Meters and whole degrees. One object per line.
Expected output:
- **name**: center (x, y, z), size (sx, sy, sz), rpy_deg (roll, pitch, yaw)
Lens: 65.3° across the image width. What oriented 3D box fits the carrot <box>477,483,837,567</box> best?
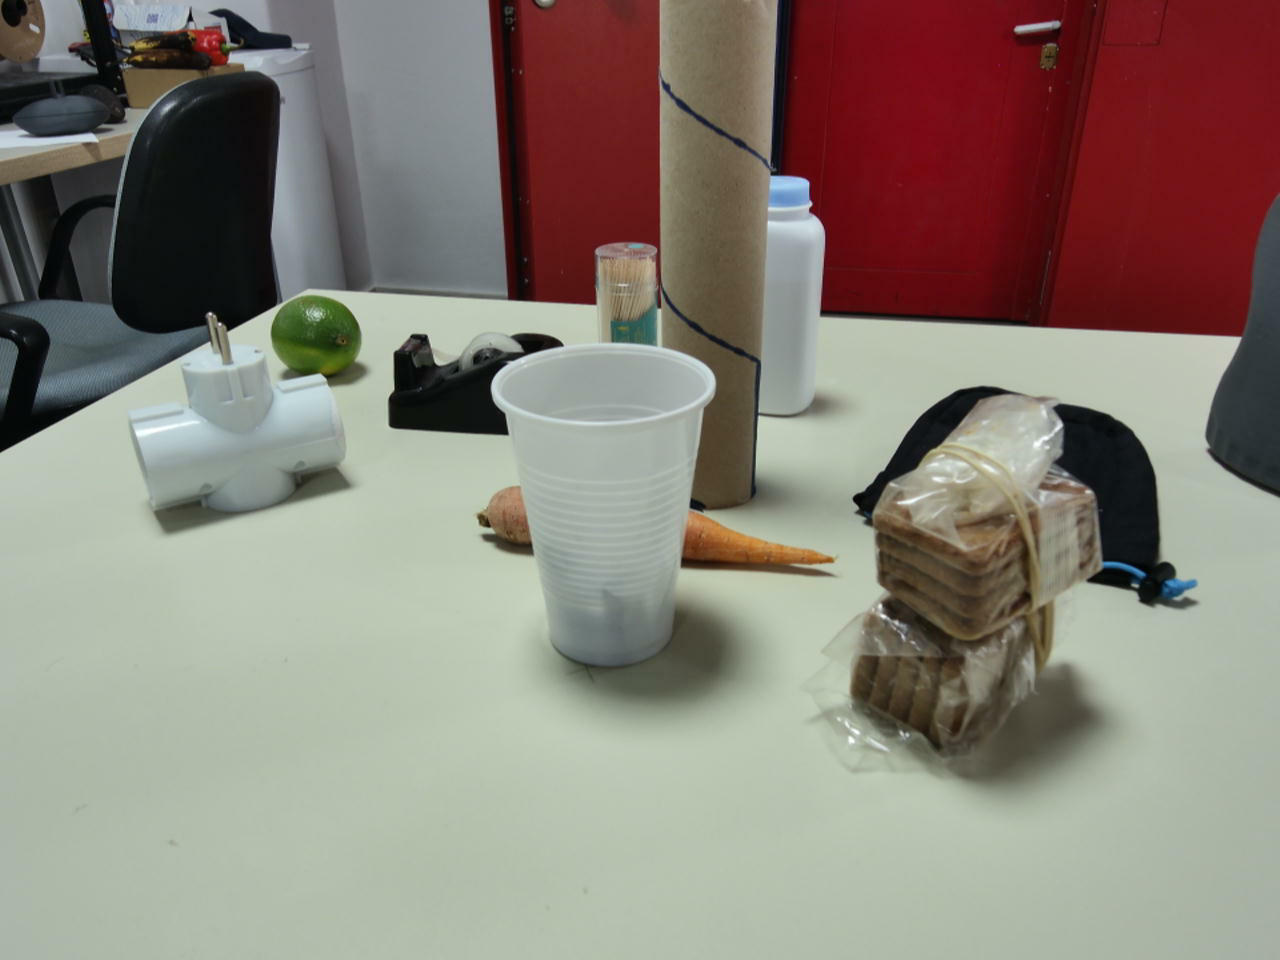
- **carrot**: center (0.005, 0.020, 0.446), size (0.163, 0.029, 0.031), rpy_deg (5, 25, 12)
